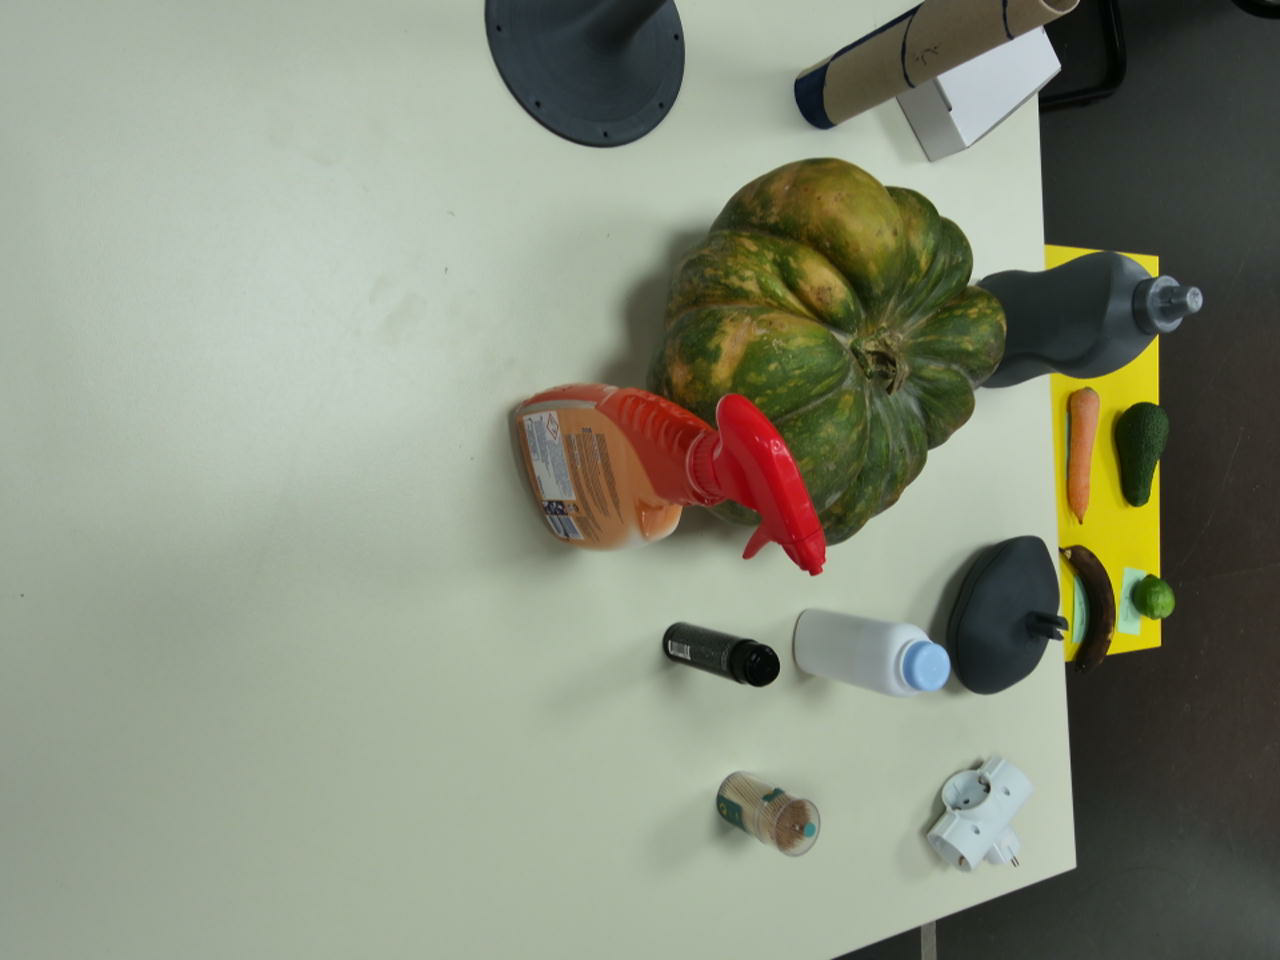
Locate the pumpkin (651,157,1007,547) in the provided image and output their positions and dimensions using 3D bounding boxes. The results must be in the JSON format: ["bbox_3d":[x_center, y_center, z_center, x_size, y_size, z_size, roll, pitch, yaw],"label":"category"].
[{"bbox_3d":[0.126,-0.084,0.683,0.237,0.173,0.270,36,74,-24],"label":"pumpkin"}]
